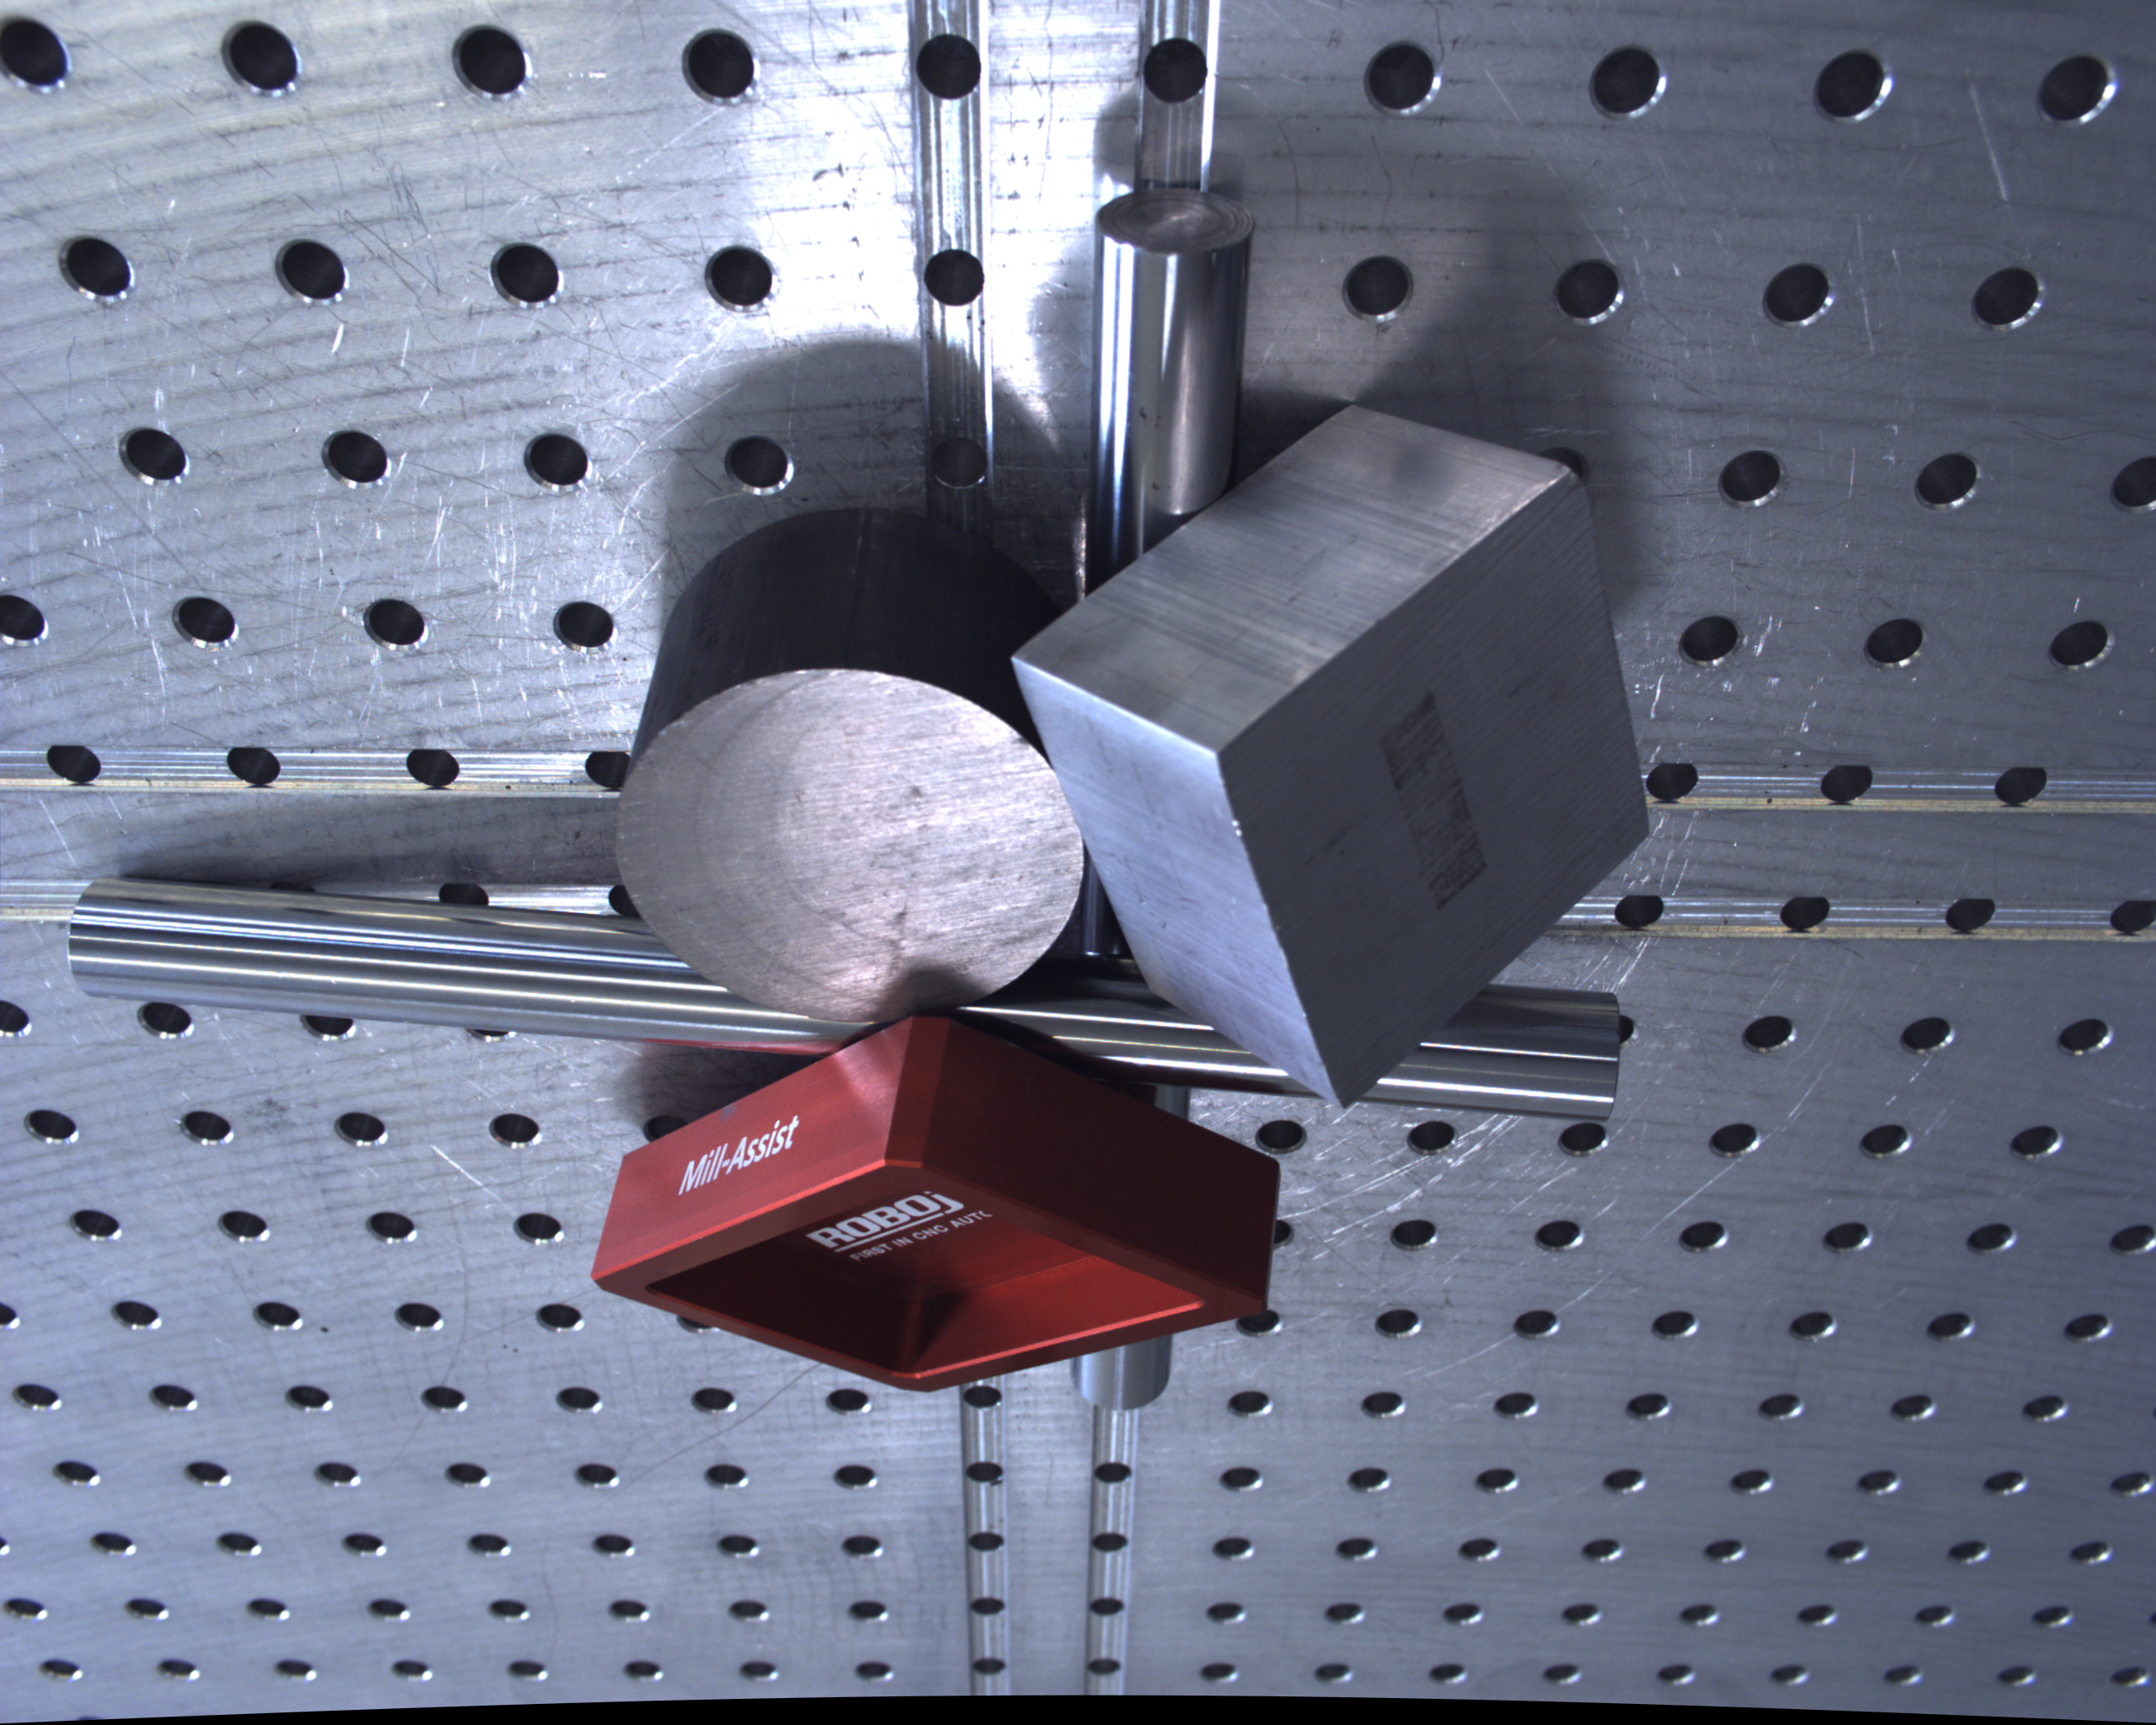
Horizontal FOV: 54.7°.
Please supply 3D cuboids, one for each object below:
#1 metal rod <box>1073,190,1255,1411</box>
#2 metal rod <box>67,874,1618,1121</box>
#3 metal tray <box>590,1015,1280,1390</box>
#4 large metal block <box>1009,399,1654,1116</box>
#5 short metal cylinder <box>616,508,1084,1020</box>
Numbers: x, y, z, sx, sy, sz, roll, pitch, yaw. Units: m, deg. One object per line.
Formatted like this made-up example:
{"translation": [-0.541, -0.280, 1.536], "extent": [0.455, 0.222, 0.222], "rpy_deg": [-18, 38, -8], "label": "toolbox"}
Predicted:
{"translation": [0.013, 0.013, 0.423], "extent": [0.025, 0.025, 0.298], "rpy_deg": [0, 131, -1], "label": "metal rod"}
{"translation": [-0.049, 0.026, 0.411], "extent": [0.302, 0.025, 0.025], "rpy_deg": [4, 130, 5], "label": "metal rod"}
{"translation": [-0.033, 0.077, 0.440], "extent": [0.090, 0.030, 0.130], "rpy_deg": [27, 146, -28], "label": "metal tray"}
{"translation": [0.046, -0.019, 0.353], "extent": [0.080, 0.050, 0.080], "rpy_deg": [-39, 131, -20], "label": "large metal block"}
{"translation": [-0.039, -0.017, 0.380], "extent": [0.081, 0.050, 0.079], "rpy_deg": [0, 130, 0], "label": "short metal cylinder"}
